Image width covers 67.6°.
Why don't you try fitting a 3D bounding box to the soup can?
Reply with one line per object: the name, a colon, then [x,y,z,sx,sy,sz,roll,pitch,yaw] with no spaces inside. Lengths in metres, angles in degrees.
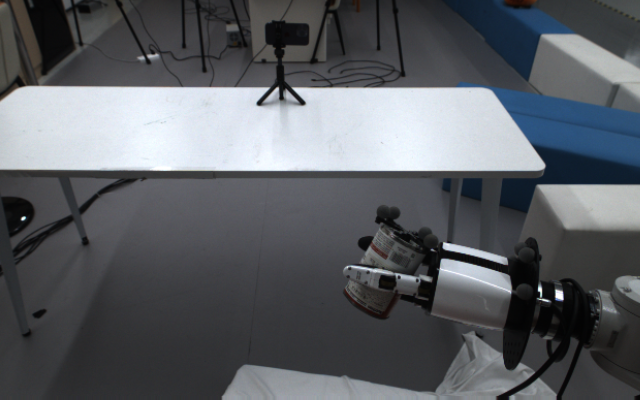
soup can: [0.084,0.089,0.613,0.067,0.101,0.067,27,10,-5]
